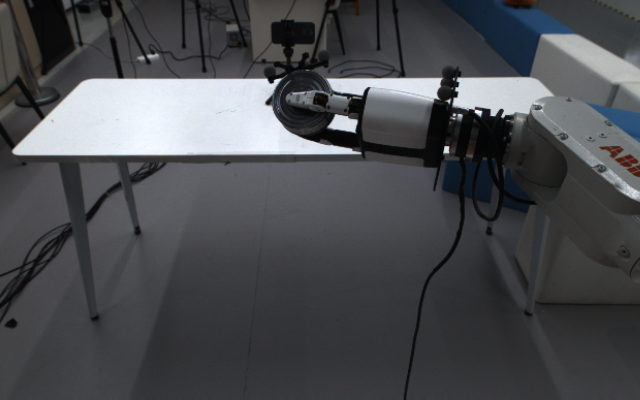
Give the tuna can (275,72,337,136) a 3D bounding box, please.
[{"bbox_3d":[-0.018,-0.127,0.662,0.085,0.085,0.034,12,-5,14],"label":"tuna can"}]
